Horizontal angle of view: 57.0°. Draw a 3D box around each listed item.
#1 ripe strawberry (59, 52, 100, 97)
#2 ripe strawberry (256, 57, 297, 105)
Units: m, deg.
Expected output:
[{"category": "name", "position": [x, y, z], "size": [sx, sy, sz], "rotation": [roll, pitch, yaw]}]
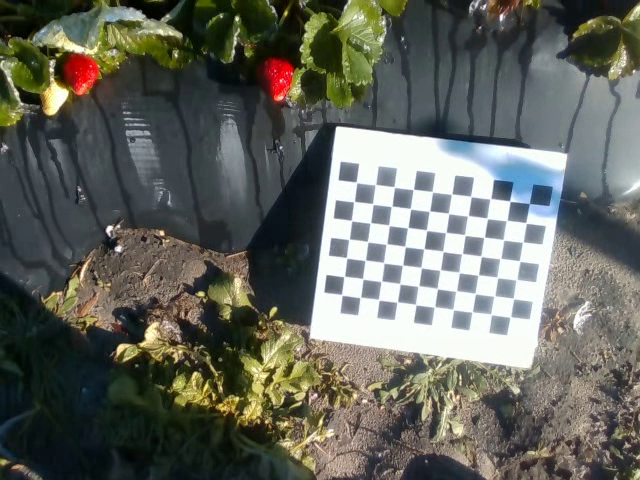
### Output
[{"category": "ripe strawberry", "position": [-0.240, -0.161, 0.580], "size": [0.037, 0.051, 0.040], "rotation": [-7, -42, 3]}, {"category": "ripe strawberry", "position": [-0.043, -0.156, 0.573], "size": [0.041, 0.053, 0.047], "rotation": [1, -32, 2]}]
